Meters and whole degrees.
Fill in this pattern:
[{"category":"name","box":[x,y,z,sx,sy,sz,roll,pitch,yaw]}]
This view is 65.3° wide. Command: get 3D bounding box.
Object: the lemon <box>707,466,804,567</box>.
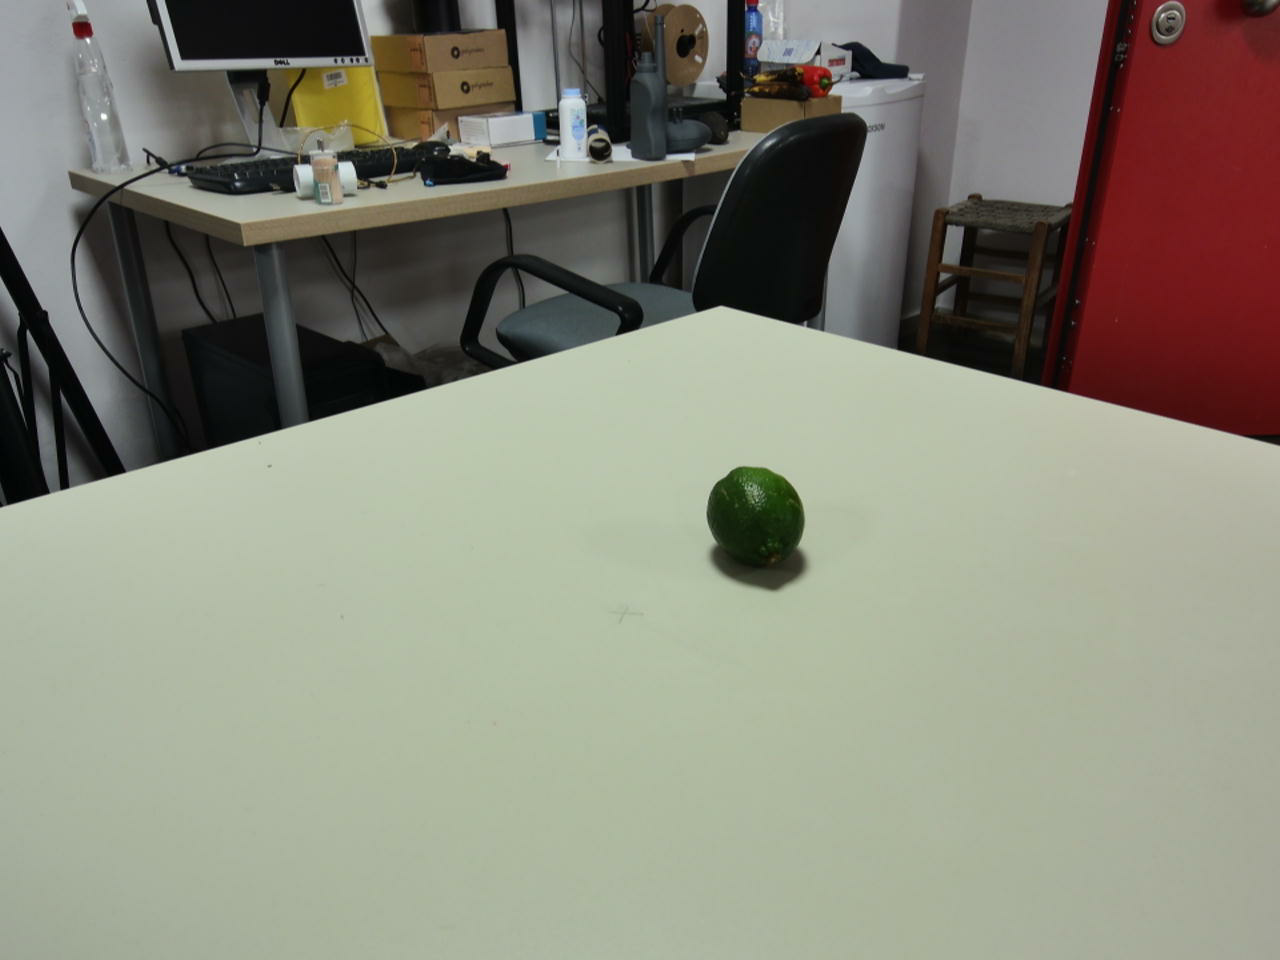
[{"category":"lemon","box":[0.064,0.019,0.545,0.057,0.051,0.054,22,32,40]}]
